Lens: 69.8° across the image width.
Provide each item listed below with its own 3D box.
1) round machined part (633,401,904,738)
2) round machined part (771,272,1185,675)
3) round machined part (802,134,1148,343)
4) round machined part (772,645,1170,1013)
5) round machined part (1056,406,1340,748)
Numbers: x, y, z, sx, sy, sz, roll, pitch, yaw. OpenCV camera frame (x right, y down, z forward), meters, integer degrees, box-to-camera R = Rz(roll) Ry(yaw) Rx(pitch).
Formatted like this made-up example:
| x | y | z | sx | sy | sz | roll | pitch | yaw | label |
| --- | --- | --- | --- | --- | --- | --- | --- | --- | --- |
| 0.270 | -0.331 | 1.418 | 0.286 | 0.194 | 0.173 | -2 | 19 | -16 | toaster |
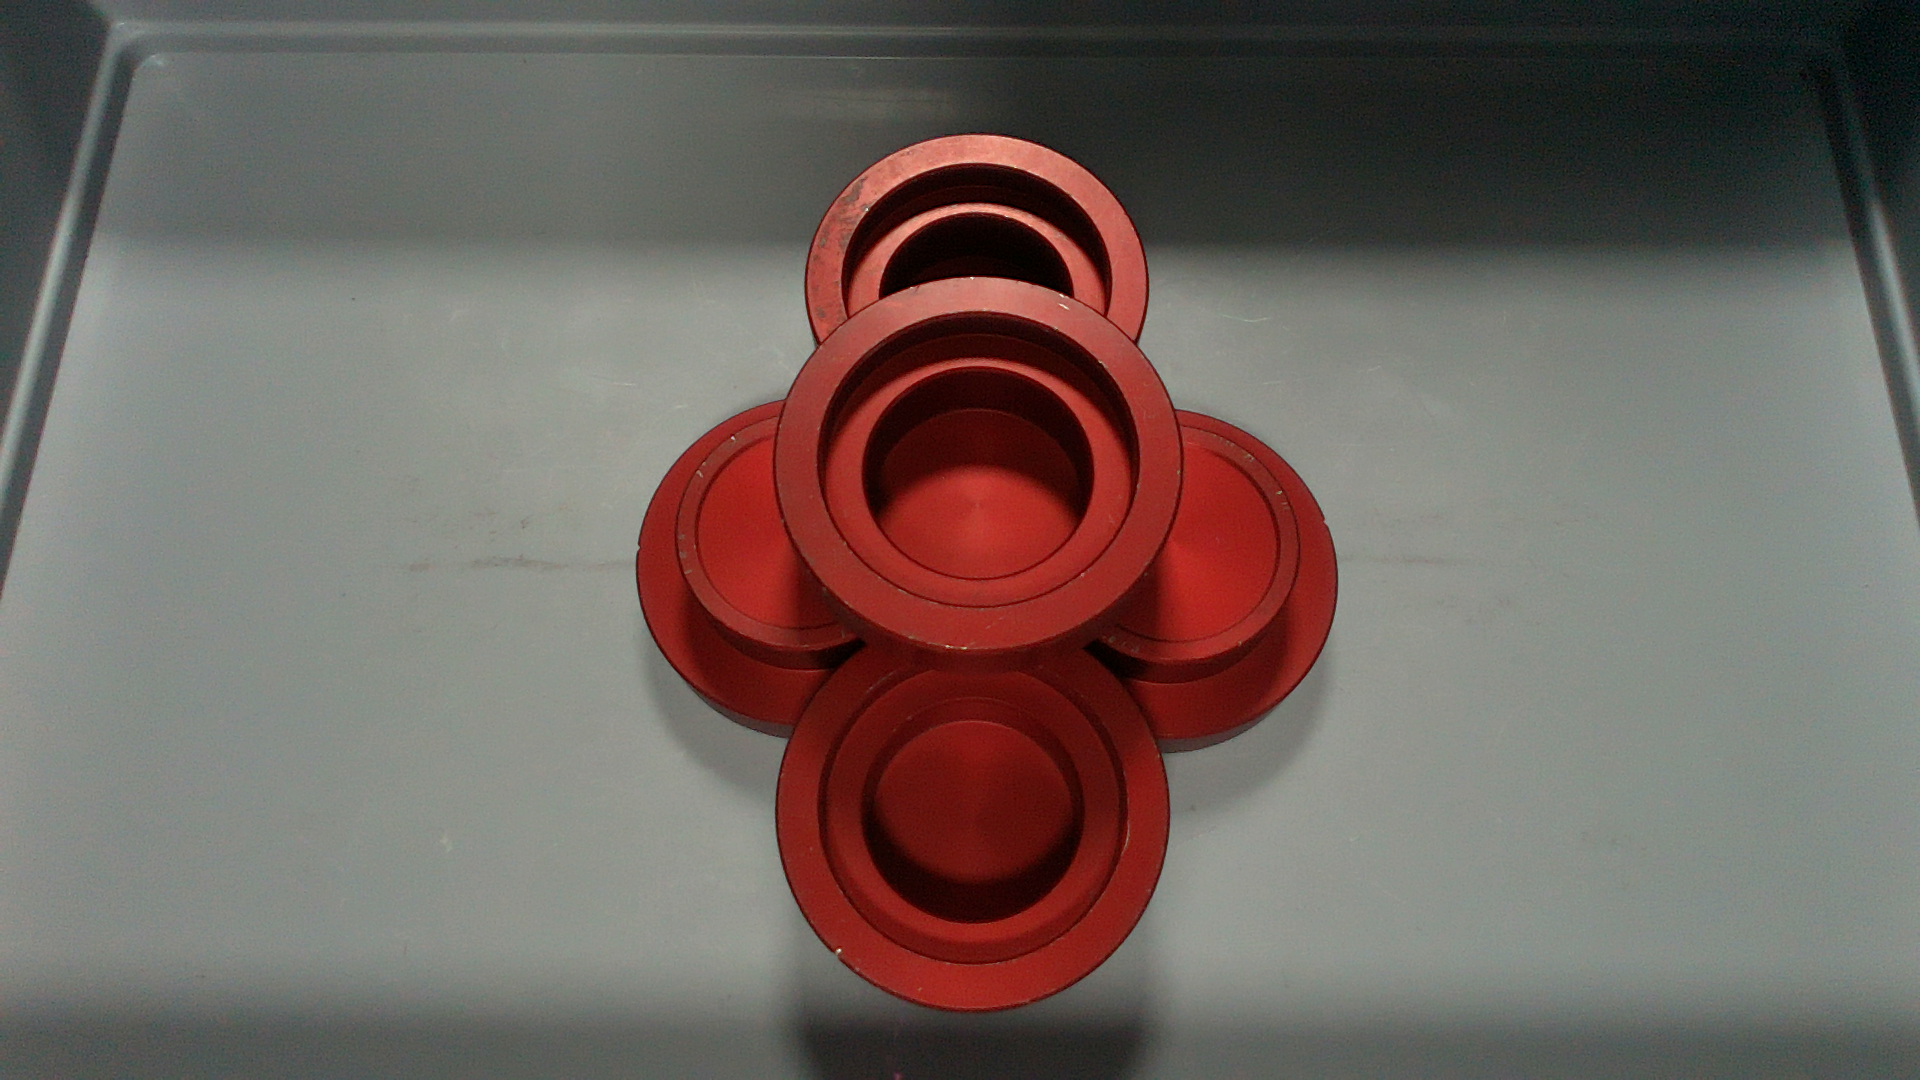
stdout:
| x | y | z | sx | sy | sz | roll | pitch | yaw | label |
| --- | --- | --- | --- | --- | --- | --- | --- | --- | --- |
| -0.042 | 0.004 | 0.383 | 0.098 | 0.042 | 0.098 | 0 | 70 | 0 | round machined part |
| 0.004 | -0.014 | 0.344 | 0.098 | 0.042 | 0.098 | 0 | 70 | 0 | round machined part |
| 0.004 | -0.067 | 0.408 | 0.098 | 0.042 | 0.098 | 0 | 70 | 0 | round machined part |
| 0.003 | 0.072 | 0.358 | 0.098 | 0.042 | 0.098 | 0 | 70 | 0 | round machined part |
| 0.057 | 0.006 | 0.381 | 0.098 | 0.042 | 0.098 | 0 | 70 | 0 | round machined part |
